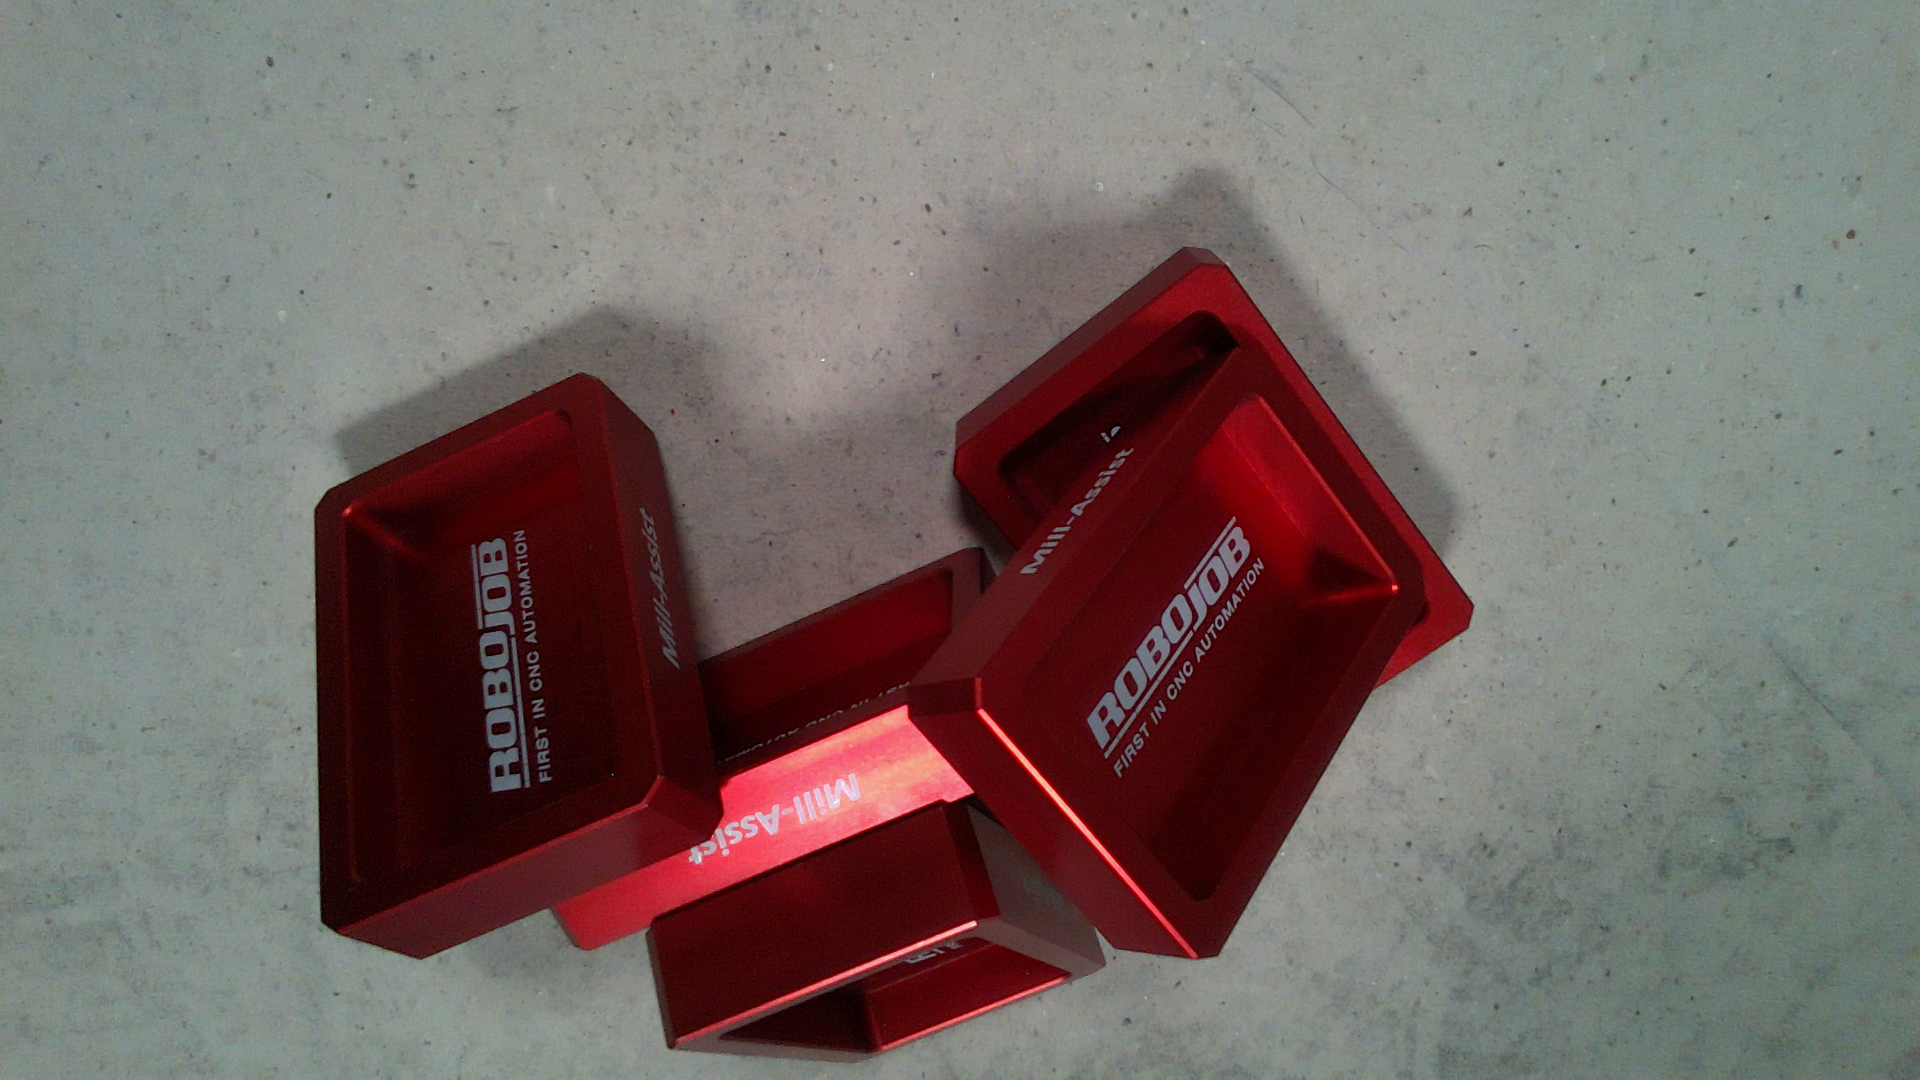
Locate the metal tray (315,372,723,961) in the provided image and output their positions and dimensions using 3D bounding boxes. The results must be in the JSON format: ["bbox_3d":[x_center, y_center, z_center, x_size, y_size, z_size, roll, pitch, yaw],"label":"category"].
[{"bbox_3d":[-0.117,0.029,0.354,0.090,0.130,0.030,-23,147,8],"label":"metal tray"}]

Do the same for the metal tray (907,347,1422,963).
[{"bbox_3d":[0.057,0.026,0.344,0.090,0.030,0.130,50,58,-16],"label":"metal tray"}]

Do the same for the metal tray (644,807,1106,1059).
[{"bbox_3d":[-0.017,0.117,0.391,0.090,0.030,0.130,-23,153,9],"label":"metal tray"}]

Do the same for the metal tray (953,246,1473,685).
[{"bbox_3d":[0.071,-0.005,0.390,0.090,0.030,0.130,-37,106,12],"label":"metal tray"}]

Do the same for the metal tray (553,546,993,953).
[{"bbox_3d":[-0.046,0.054,0.379,0.130,0.090,0.030,-24,108,8],"label":"metal tray"}]
